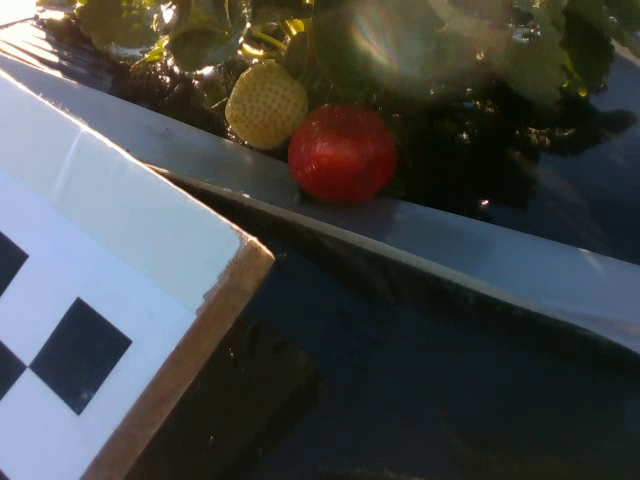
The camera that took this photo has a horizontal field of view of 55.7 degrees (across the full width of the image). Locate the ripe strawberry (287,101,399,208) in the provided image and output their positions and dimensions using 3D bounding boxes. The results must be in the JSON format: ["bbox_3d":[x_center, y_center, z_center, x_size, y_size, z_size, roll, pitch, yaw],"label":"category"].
[{"bbox_3d":[0.007,-0.033,0.226,0.045,0.049,0.063,-35,4,6],"label":"ripe strawberry"}]
